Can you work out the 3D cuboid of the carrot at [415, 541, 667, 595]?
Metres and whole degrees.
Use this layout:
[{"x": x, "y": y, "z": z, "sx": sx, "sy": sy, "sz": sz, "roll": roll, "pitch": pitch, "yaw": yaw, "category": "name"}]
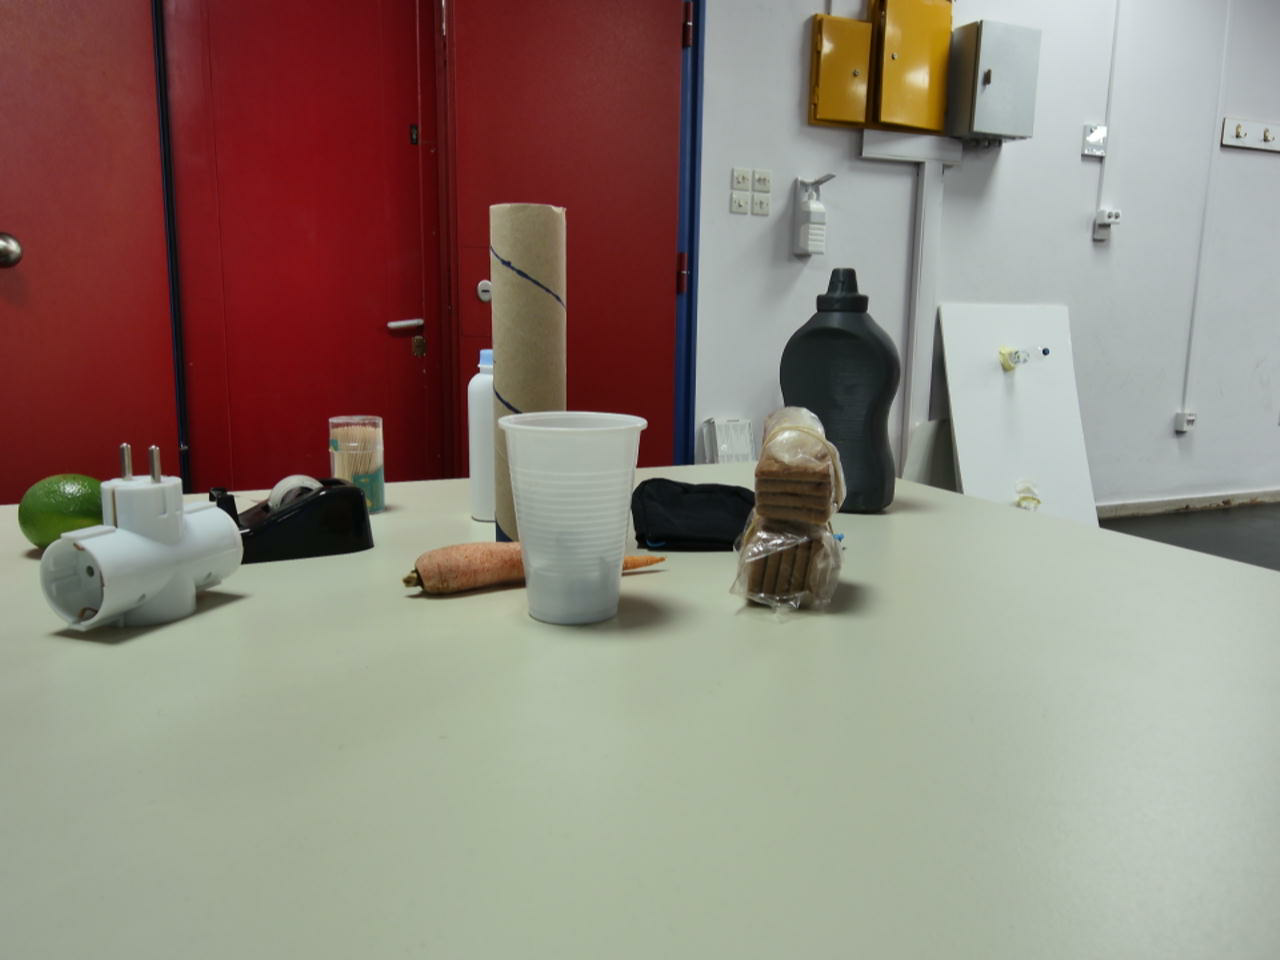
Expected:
[{"x": -0.060, "y": 0.050, "z": 0.613, "sx": 0.163, "sy": 0.029, "sz": 0.031, "roll": -3, "pitch": 9, "yaw": -24, "category": "carrot"}]
